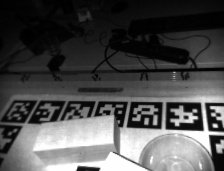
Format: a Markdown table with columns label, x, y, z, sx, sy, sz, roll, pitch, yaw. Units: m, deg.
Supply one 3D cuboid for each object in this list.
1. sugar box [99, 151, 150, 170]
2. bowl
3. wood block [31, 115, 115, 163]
| label | x | y | z | sx | sy | sz | roll | pitch | yaw |
| --- | --- | --- | --- | --- | --- | --- | --- | --- | --- |
| sugar box | 0.038 | 0.197 | 0.423 | 0.091 | 0.178 | 0.045 | 14 | 53 | 32 |
| bowl | 0.143 | 0.181 | 0.502 | 0.161 | 0.056 | 0.161 | -10 | 43 | 11 |
| wood block | -0.100 | 0.143 | 0.587 | 0.205 | 0.091 | 0.090 | -7 | 48 | 7 |
